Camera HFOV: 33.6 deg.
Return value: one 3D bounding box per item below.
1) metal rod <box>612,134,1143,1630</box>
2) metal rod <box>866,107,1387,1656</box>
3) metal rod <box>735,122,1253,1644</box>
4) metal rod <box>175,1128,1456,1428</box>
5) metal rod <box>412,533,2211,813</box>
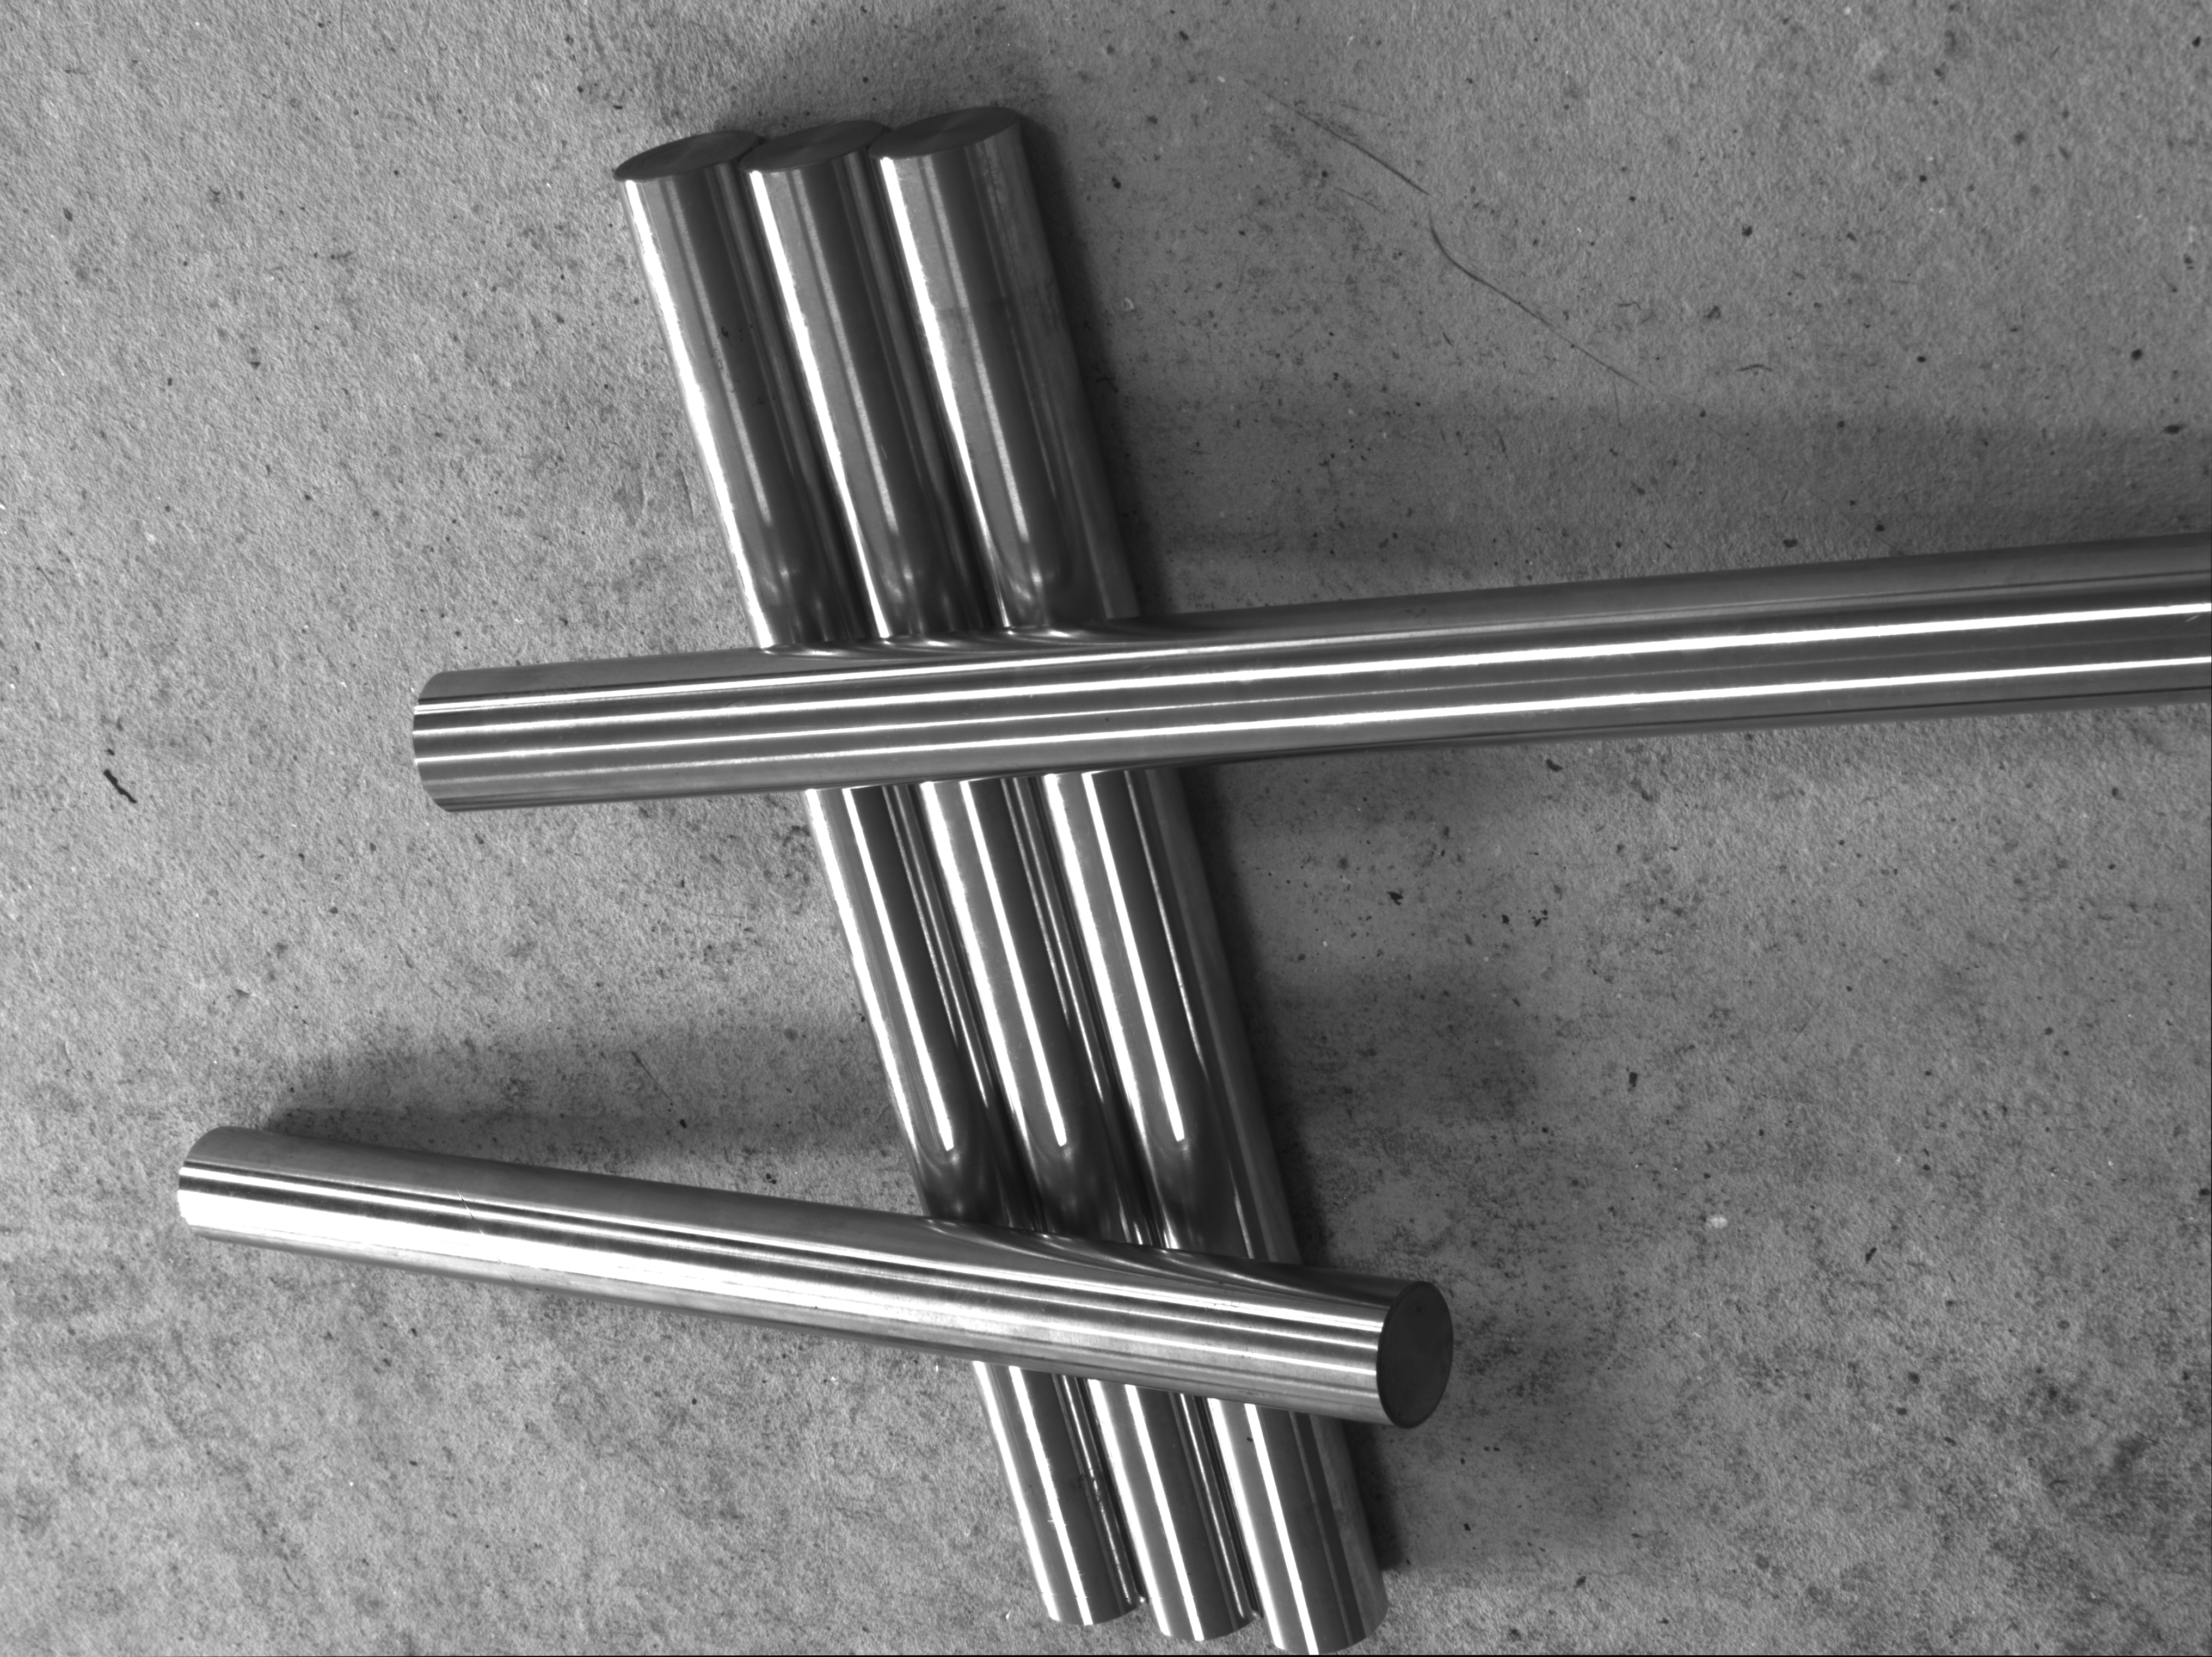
[{"bbox_3d":[-0.036,0.021,0.674,0.025,0.025,0.300,0,118,28],"label":"metal rod"},{"bbox_3d":[0.008,0.021,0.650,0.025,0.025,0.300,0,118,28],"label":"metal rod"},{"bbox_3d":[-0.014,0.021,0.662,0.025,0.025,0.300,0,118,28],"label":"metal rod"},{"bbox_3d":[-0.069,0.083,0.705,0.299,0.025,0.025,3,120,35],"label":"metal rod"},{"bbox_3d":[0.024,-0.023,0.591,0.299,0.025,0.025,-3,117,21],"label":"metal rod"}]
